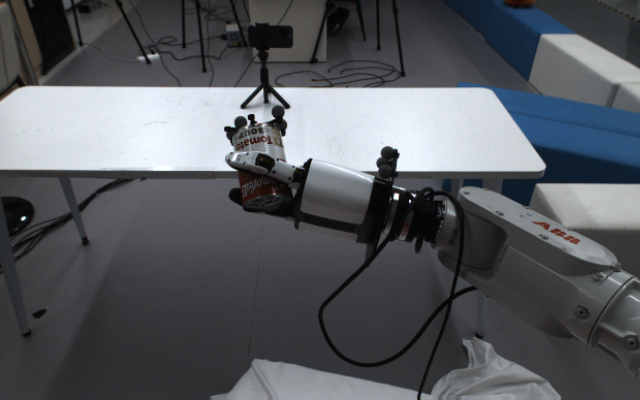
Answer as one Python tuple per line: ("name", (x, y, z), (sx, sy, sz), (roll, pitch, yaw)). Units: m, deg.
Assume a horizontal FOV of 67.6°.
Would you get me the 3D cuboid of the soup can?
("soup can", (-0.075, -0.041, 0.640), (0.067, 0.067, 0.101), (-8, 74, -14))
